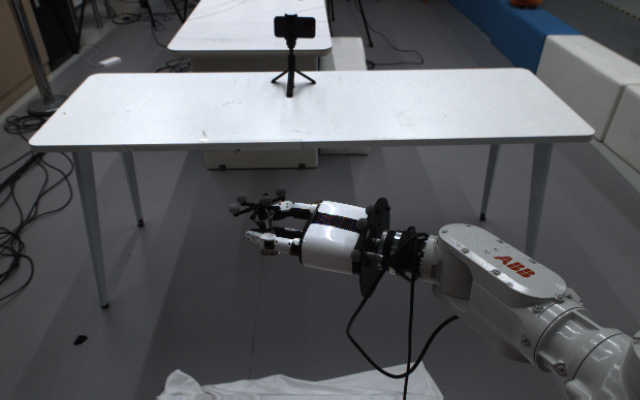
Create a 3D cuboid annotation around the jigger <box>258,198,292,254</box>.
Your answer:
[{"bbox_3d":[-0.087,0.055,0.811,0.043,0.071,0.043,-12,25,5],"label":"jigger"}]
